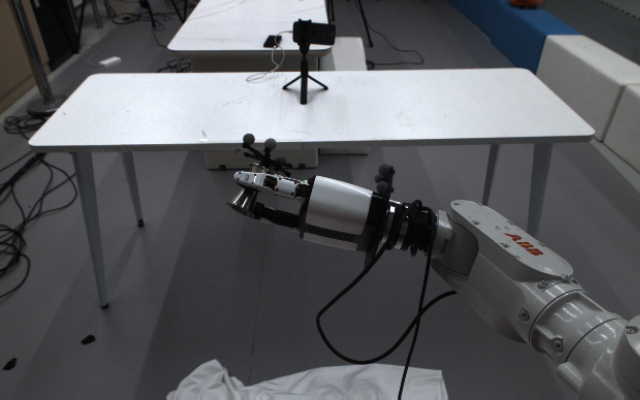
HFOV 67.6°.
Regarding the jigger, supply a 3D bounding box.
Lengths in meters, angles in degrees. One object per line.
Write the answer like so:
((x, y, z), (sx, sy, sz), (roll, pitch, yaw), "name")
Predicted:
((-0.099, -0.017, 0.692), (0.043, 0.043, 0.071), (20, 73, 23), "jigger")
